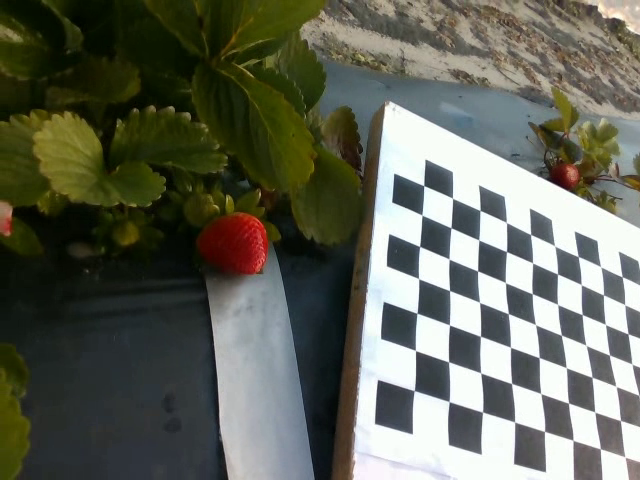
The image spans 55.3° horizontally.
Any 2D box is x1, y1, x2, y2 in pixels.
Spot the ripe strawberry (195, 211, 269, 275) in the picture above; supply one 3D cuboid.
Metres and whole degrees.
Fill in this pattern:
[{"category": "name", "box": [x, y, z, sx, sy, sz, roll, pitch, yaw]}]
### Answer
[{"category": "ripe strawberry", "box": [-0.040, 0.004, 0.315, 0.050, 0.055, 0.036, 20, -51, -29]}]
